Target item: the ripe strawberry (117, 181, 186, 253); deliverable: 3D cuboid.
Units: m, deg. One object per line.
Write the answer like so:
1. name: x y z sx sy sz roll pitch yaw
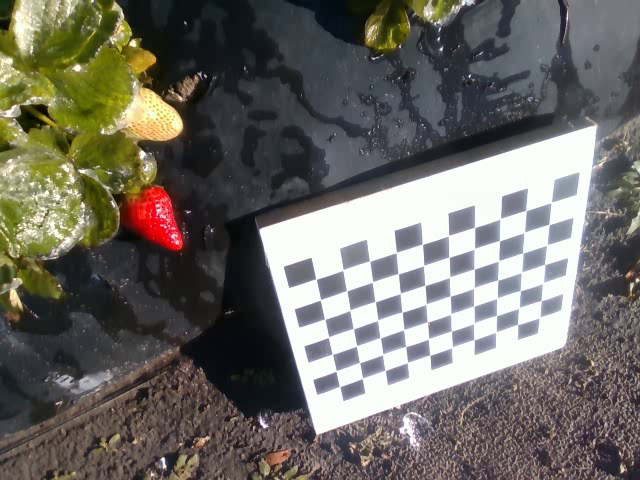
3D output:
1. ripe strawberry: -0.113 -0.007 0.432 0.041 0.052 0.040 -32 32 2
